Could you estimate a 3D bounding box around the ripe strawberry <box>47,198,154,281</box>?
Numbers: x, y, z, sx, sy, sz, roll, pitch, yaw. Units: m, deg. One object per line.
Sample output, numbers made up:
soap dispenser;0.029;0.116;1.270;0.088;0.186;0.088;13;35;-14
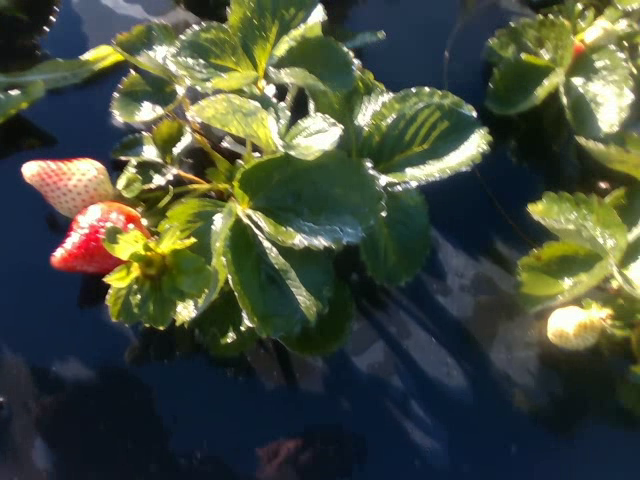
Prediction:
ripe strawberry;-0.104;0.002;0.267;0.040;0.038;0.055;12;11;28
